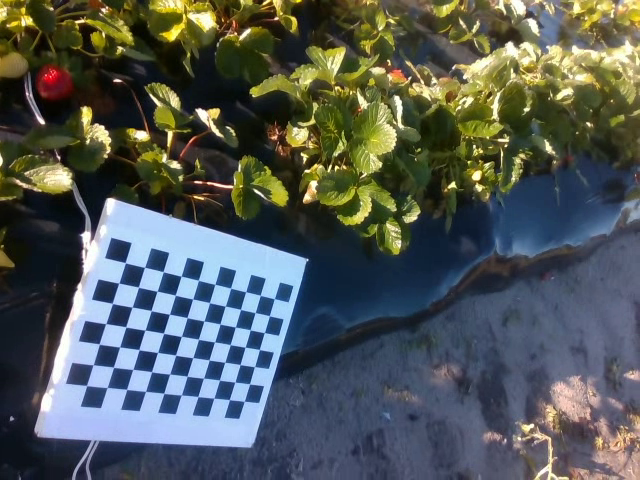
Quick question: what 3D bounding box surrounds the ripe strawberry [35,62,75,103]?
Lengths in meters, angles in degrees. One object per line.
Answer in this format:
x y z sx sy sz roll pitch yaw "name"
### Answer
-0.366 -0.221 0.830 0.040 0.063 0.080 -24 34 20 "ripe strawberry"
